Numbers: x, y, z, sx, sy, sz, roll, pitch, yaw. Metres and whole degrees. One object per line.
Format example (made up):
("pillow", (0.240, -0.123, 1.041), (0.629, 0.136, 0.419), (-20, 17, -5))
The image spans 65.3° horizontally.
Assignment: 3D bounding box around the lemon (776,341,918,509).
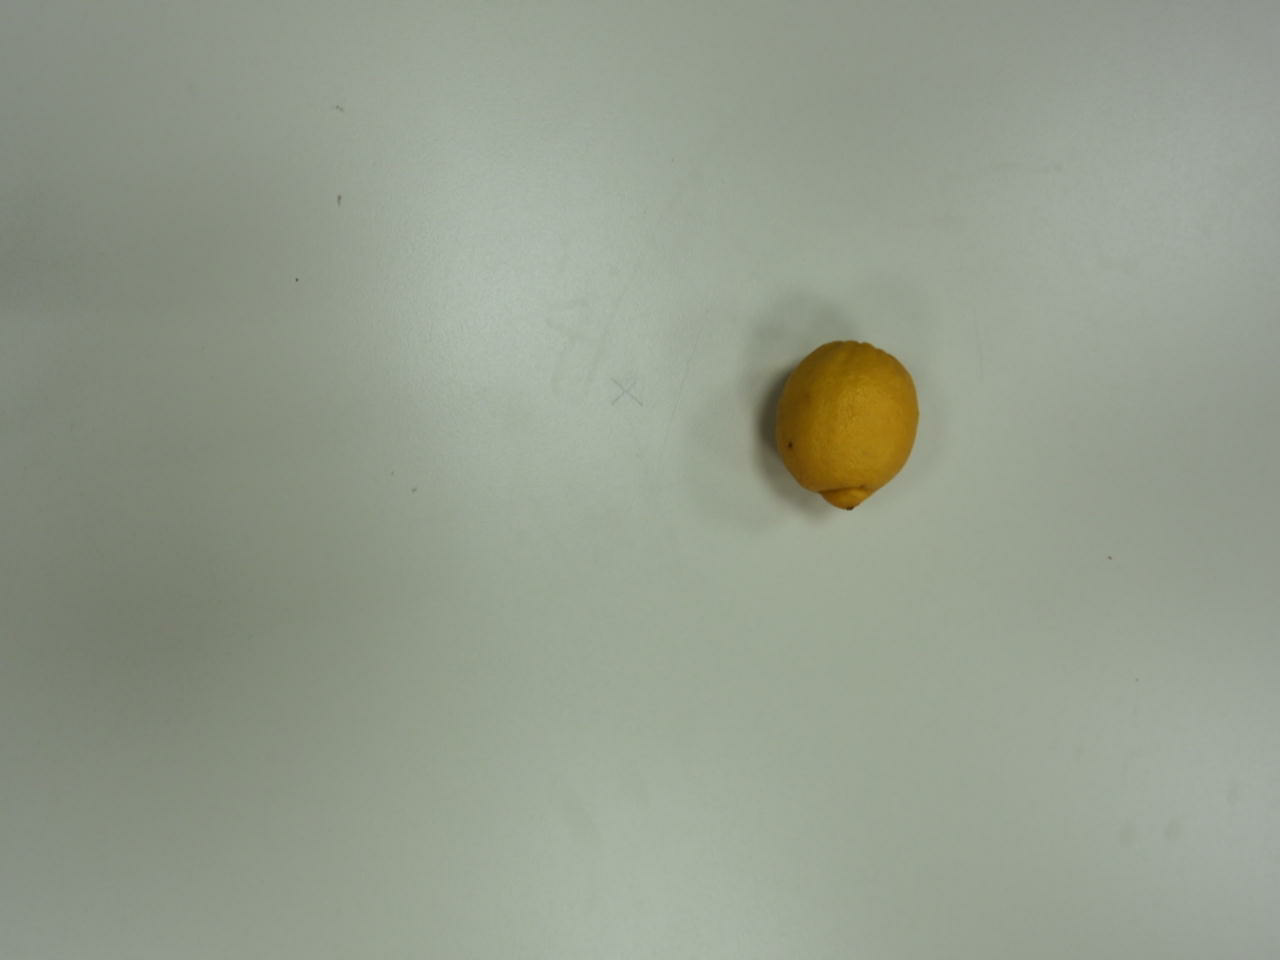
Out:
("lemon", (0.088, -0.025, 0.428), (0.061, 0.059, 0.067), (32, 84, -10))
